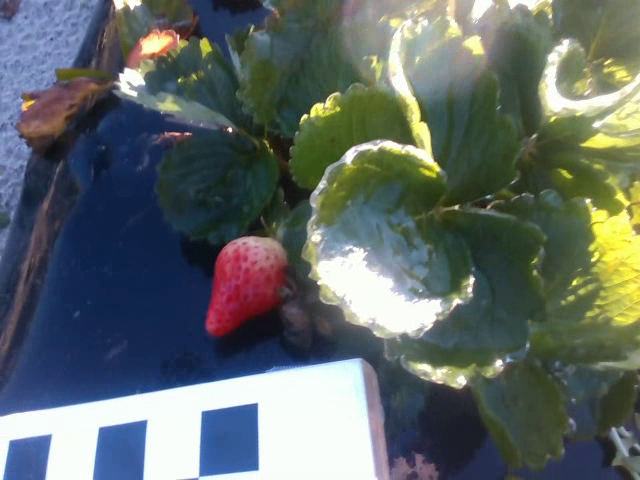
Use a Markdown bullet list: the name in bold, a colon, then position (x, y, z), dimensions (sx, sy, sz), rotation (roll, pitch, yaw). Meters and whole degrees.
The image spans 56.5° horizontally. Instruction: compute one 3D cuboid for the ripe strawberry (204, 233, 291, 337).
- **ripe strawberry**: position (-0.047, 0.022, 0.301), dimensions (0.040, 0.065, 0.040), rotation (30, -12, 29)
